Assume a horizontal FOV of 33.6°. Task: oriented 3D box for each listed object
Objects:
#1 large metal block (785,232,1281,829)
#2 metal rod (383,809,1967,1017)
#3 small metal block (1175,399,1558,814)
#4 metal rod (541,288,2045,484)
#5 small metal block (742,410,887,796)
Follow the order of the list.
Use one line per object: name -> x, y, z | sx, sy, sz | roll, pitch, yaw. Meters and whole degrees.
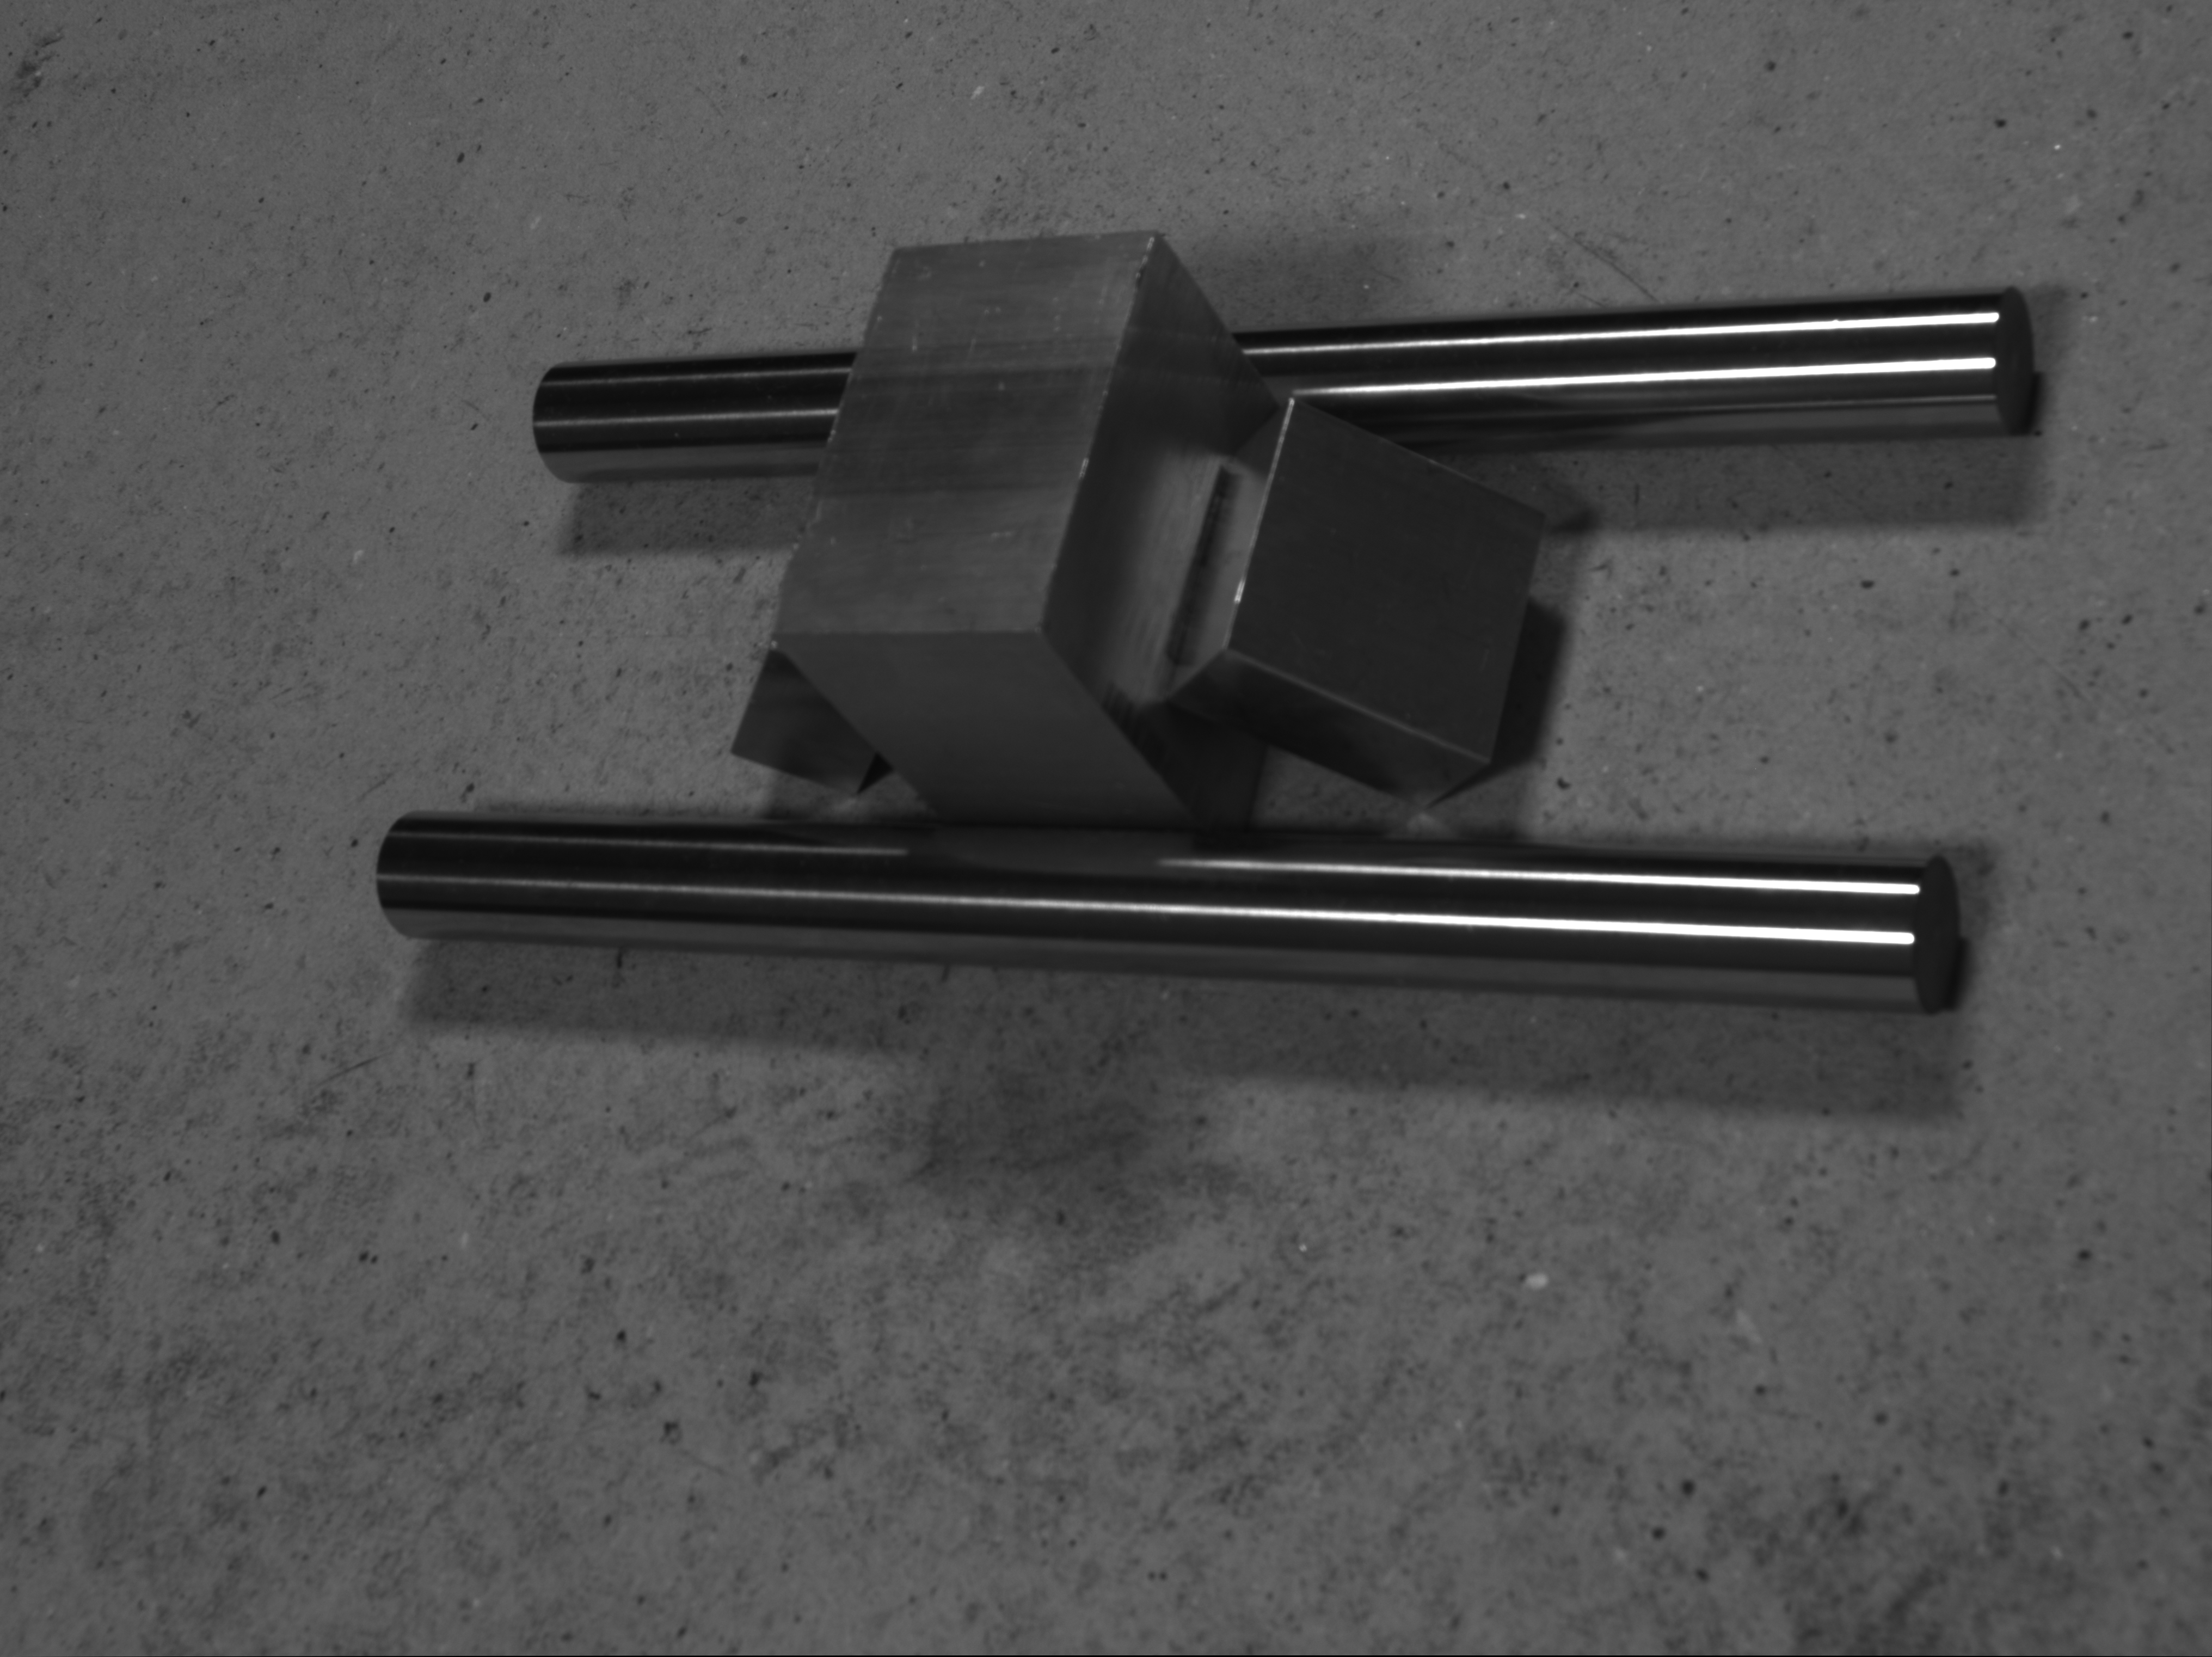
large metal block -> -0.005, -0.046, 0.643 | 0.050, 0.080, 0.080 | 1, 62, 29
metal rod -> -0.001, 0.013, 0.637 | 0.299, 0.025, 0.025 | 2, 62, 29
small metal block -> 0.045, -0.038, 0.626 | 0.025, 0.050, 0.050 | -40, 31, 61
metal rod -> 0.022, -0.080, 0.682 | 0.299, 0.025, 0.025 | 1, 62, 29
small metal block -> -0.045, -0.041, 0.676 | 0.025, 0.050, 0.050 | 18, 66, -6
